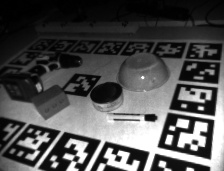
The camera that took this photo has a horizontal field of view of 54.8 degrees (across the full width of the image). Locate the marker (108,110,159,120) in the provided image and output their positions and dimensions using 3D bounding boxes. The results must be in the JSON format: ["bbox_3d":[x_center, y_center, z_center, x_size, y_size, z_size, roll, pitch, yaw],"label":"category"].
[{"bbox_3d":[0.050,0.068,0.509,0.120,0.020,0.019,0,42,16],"label":"marker"}]

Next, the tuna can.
[{"bbox_3d":[-0.008,0.021,0.573,0.085,0.034,0.085,-6,40,6],"label":"tuna can"}]

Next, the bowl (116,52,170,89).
[{"bbox_3d":[0.087,-0.056,0.640,0.161,0.055,0.161,-9,31,6],"label":"bowl"}]

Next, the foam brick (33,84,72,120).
[{"bbox_3d":[-0.162,0.044,0.588,0.078,0.053,0.050,-38,46,-26],"label":"foam brick"}]

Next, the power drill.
[{"bbox_3d":[-0.224,-0.043,0.705,0.183,0.058,0.187,9,41,20],"label":"power drill"}]
